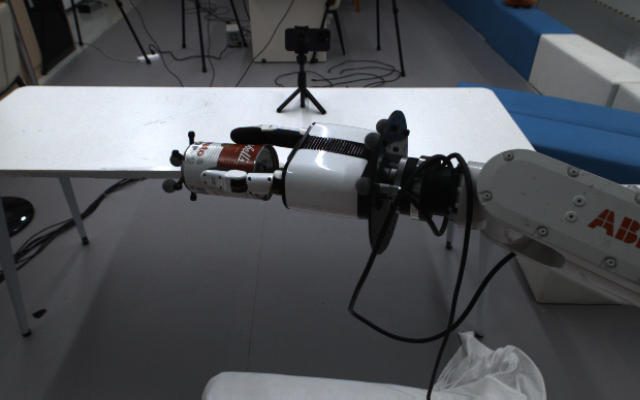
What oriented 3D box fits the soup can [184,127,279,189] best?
[{"bbox_3d":[-0.108,-0.036,0.600,0.101,0.067,0.067,5,34,18],"label":"soup can"}]
